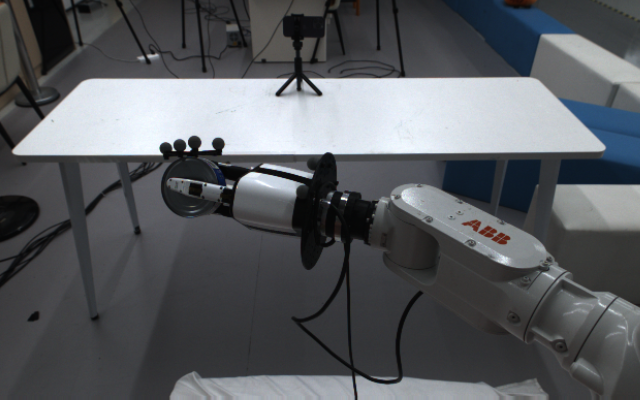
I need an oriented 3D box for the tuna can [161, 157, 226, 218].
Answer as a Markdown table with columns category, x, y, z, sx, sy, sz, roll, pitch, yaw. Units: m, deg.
| category | x | y | z | sx | sy | sz | roll | pitch | yaw |
| --- | --- | --- | --- | --- | --- | --- | --- | --- | --- |
| tuna can | -0.173 | -0.016 | 0.686 | 0.085 | 0.085 | 0.034 | 10 | 2 | 11 |
